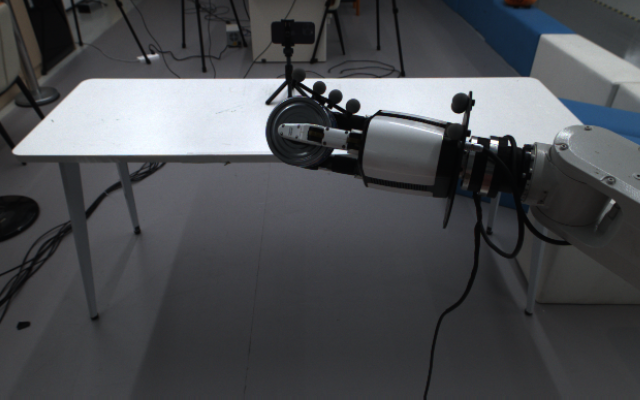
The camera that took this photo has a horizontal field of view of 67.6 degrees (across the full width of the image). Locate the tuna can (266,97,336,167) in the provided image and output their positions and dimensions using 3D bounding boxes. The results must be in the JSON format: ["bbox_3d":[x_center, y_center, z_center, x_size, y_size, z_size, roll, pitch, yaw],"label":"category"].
[{"bbox_3d":[-0.021,-0.085,0.597,0.085,0.085,0.034,12,4,15],"label":"tuna can"}]
